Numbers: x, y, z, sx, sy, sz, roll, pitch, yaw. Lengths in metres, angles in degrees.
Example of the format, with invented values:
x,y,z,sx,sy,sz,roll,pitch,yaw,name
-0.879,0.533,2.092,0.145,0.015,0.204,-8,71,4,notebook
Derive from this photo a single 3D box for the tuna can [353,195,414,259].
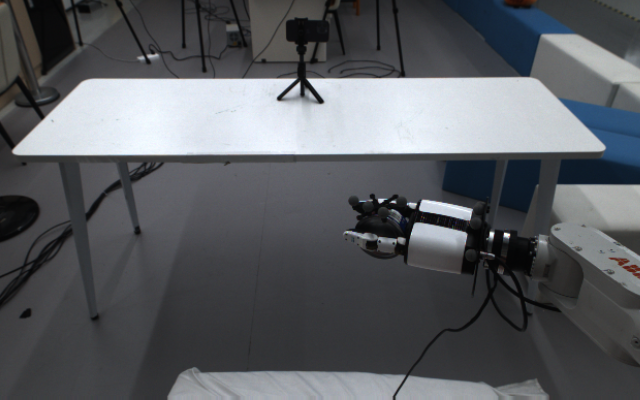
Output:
x,y,z,sx,sy,sz,roll,pitch,yaw,name
0.104,0.052,0.794,0.085,0.085,0.034,15,34,17,tuna can
